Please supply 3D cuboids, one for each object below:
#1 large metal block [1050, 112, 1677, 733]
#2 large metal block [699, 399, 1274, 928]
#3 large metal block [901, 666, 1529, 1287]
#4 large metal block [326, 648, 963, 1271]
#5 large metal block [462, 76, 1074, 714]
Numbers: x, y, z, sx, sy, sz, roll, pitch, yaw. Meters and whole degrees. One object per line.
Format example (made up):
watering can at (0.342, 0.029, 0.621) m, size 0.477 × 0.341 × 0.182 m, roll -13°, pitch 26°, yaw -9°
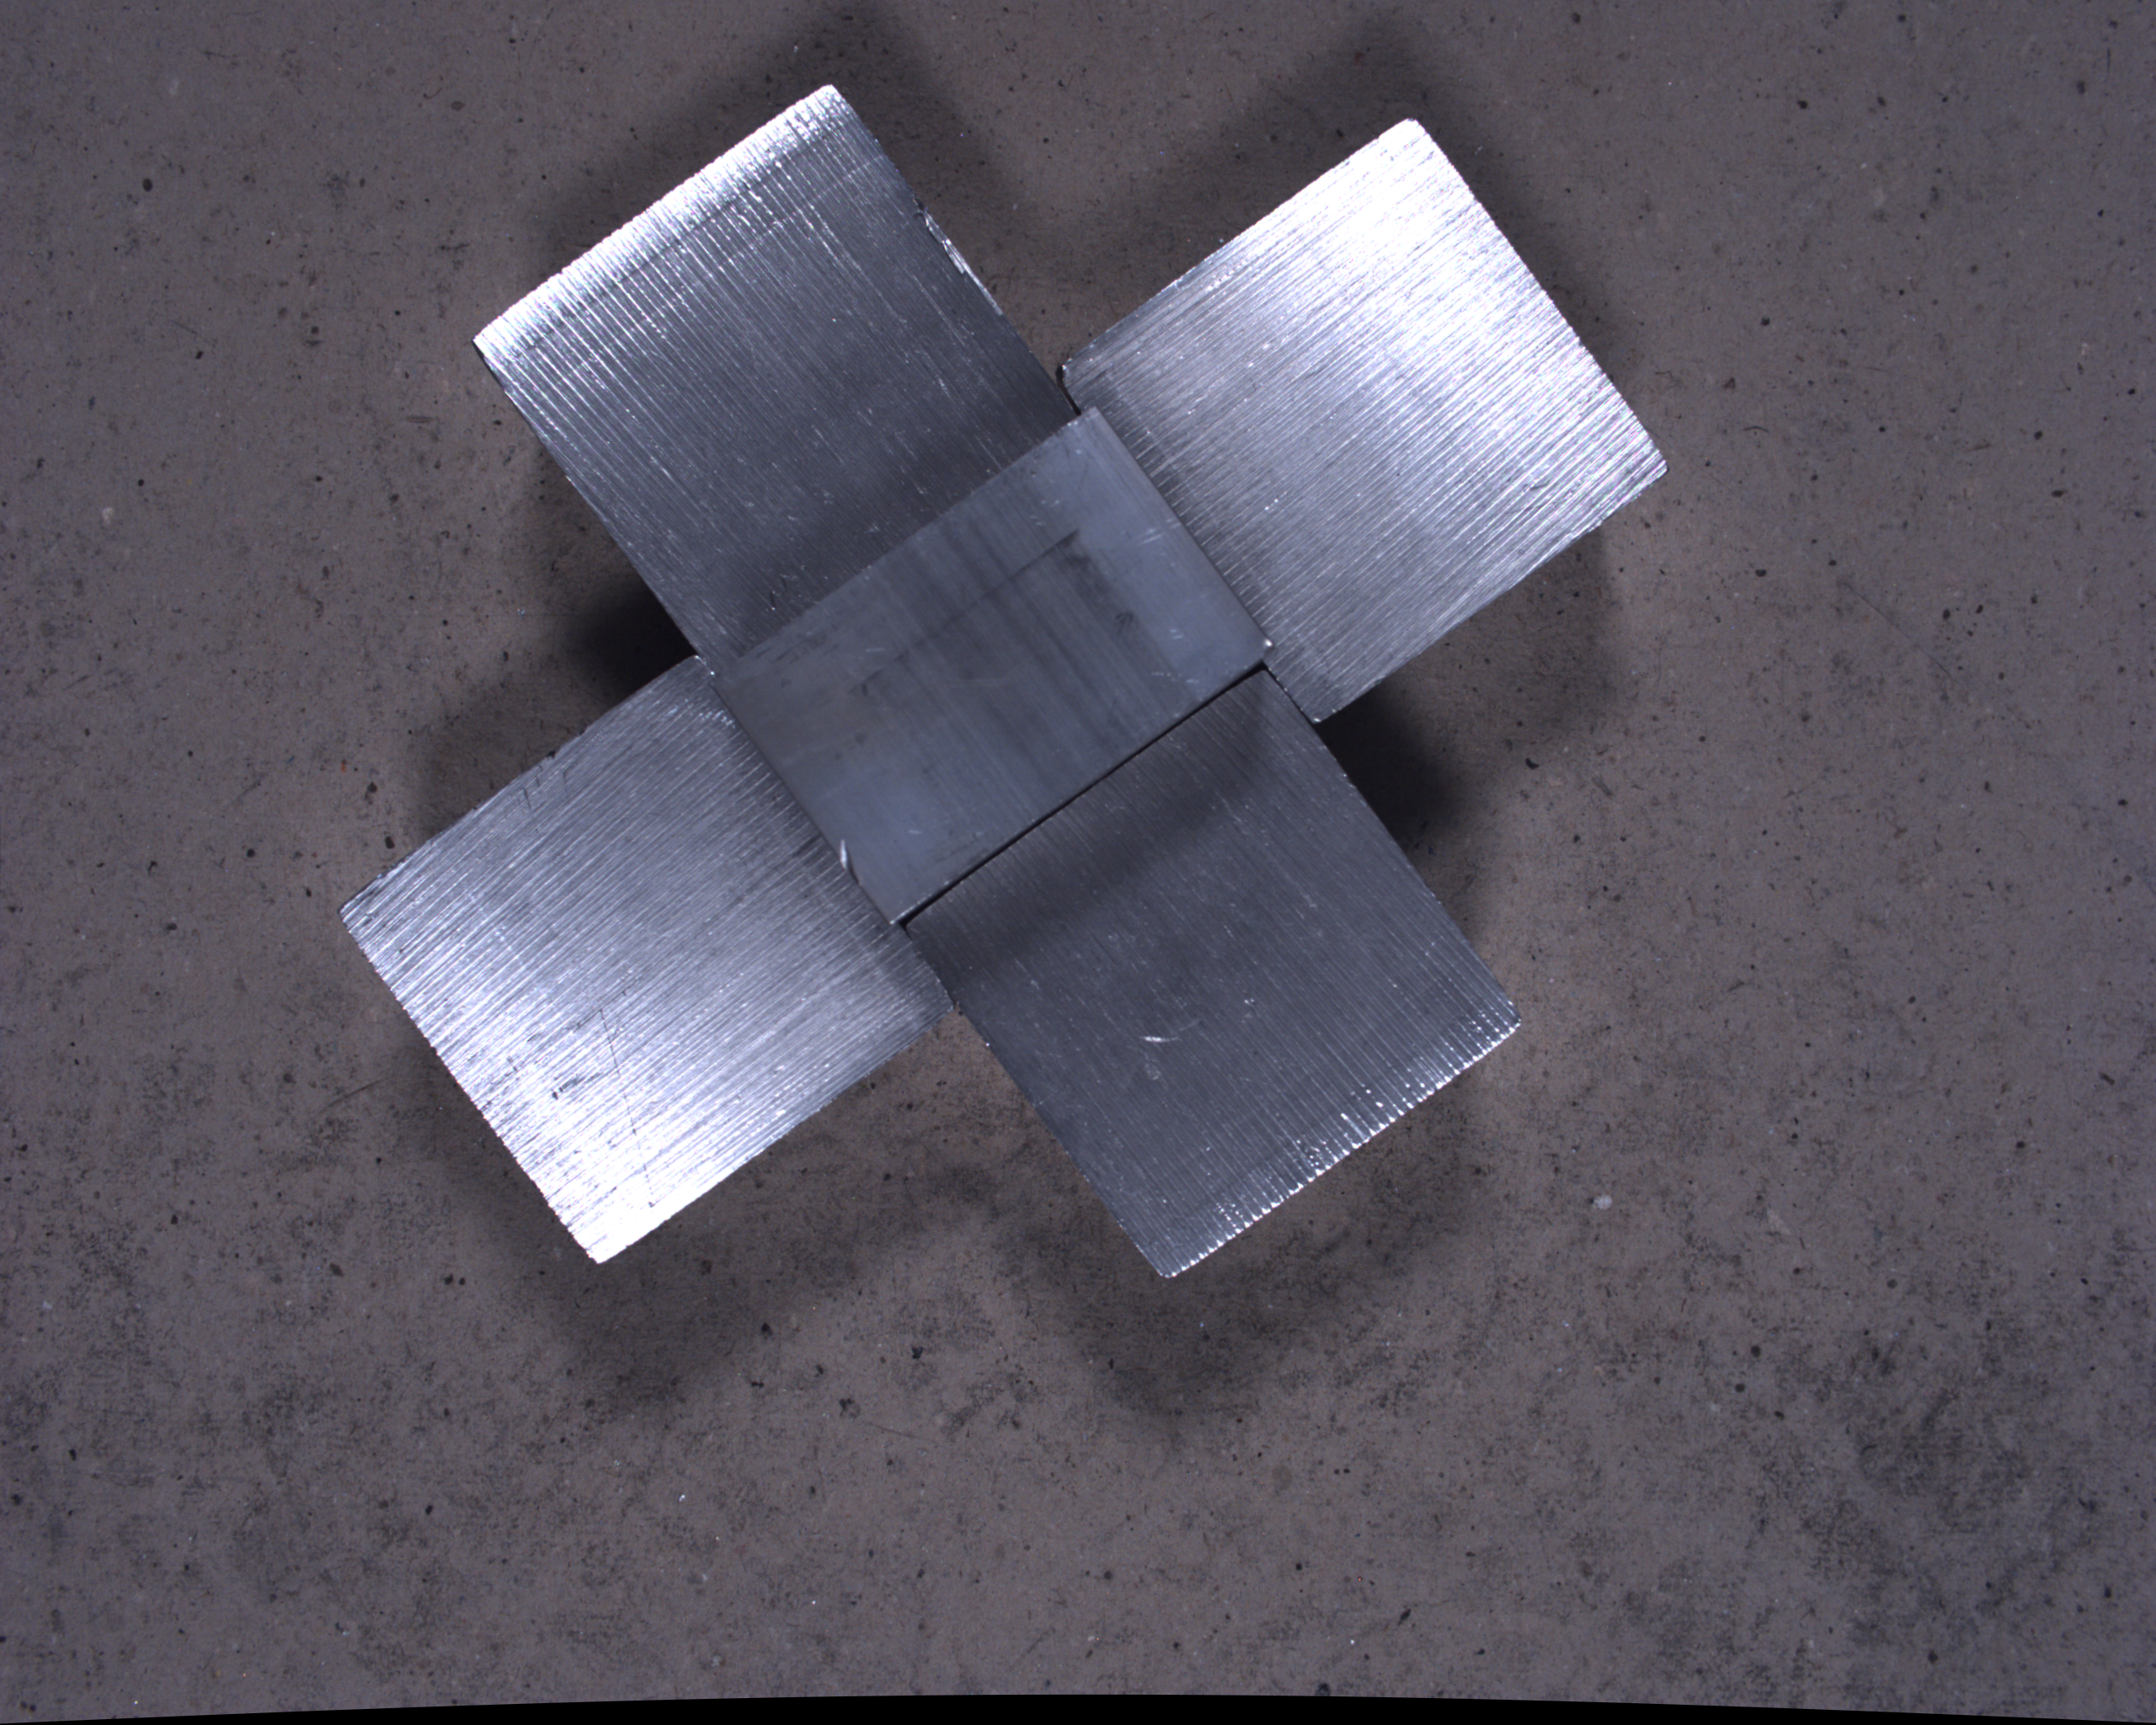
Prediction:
large metal block at (0.051, -0.079, 0.398) m, size 0.080 × 0.050 × 0.080 m, roll -36°, pitch 90°, yaw 0°
large metal block at (-0.015, -0.033, 0.383) m, size 0.080 × 0.080 × 0.050 m, roll -36°, pitch 90°, yaw 0°
large metal block at (0.025, 0.020, 0.398) m, size 0.080 × 0.050 × 0.080 m, roll -36°, pitch 90°, yaw 0°
large metal block at (-0.078, 0.017, 0.397) m, size 0.080 × 0.050 × 0.080 m, roll -36°, pitch 90°, yaw 0°
large metal block at (-0.054, -0.085, 0.397) m, size 0.080 × 0.050 × 0.080 m, roll -36°, pitch 90°, yaw 0°
